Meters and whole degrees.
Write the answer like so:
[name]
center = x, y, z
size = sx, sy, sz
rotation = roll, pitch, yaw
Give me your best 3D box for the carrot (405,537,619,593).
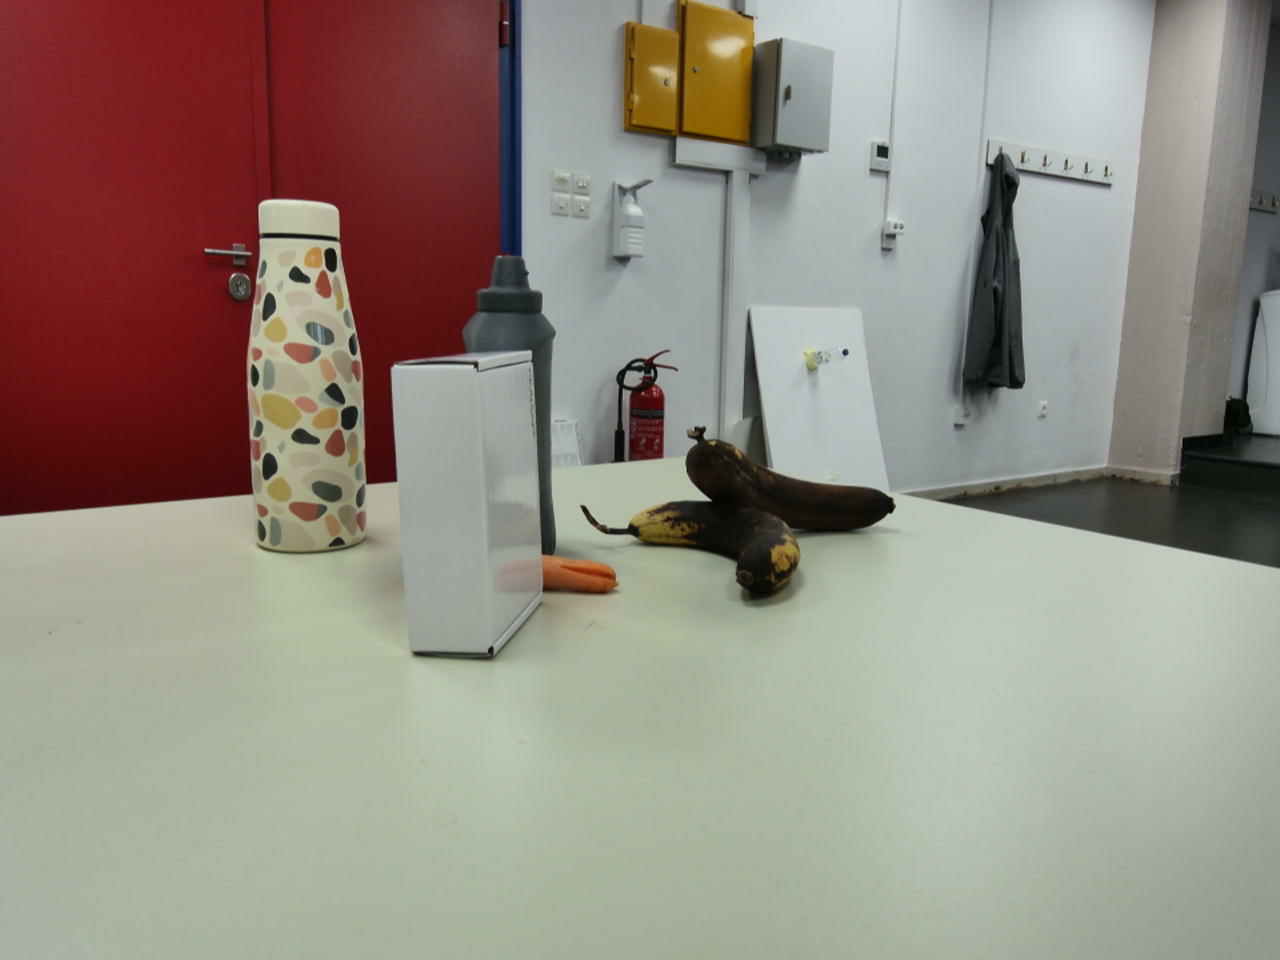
[carrot]
center = -0.081, 0.052, 0.624
size = 0.136, 0.032, 0.030
rotation = 2, 8, 10
